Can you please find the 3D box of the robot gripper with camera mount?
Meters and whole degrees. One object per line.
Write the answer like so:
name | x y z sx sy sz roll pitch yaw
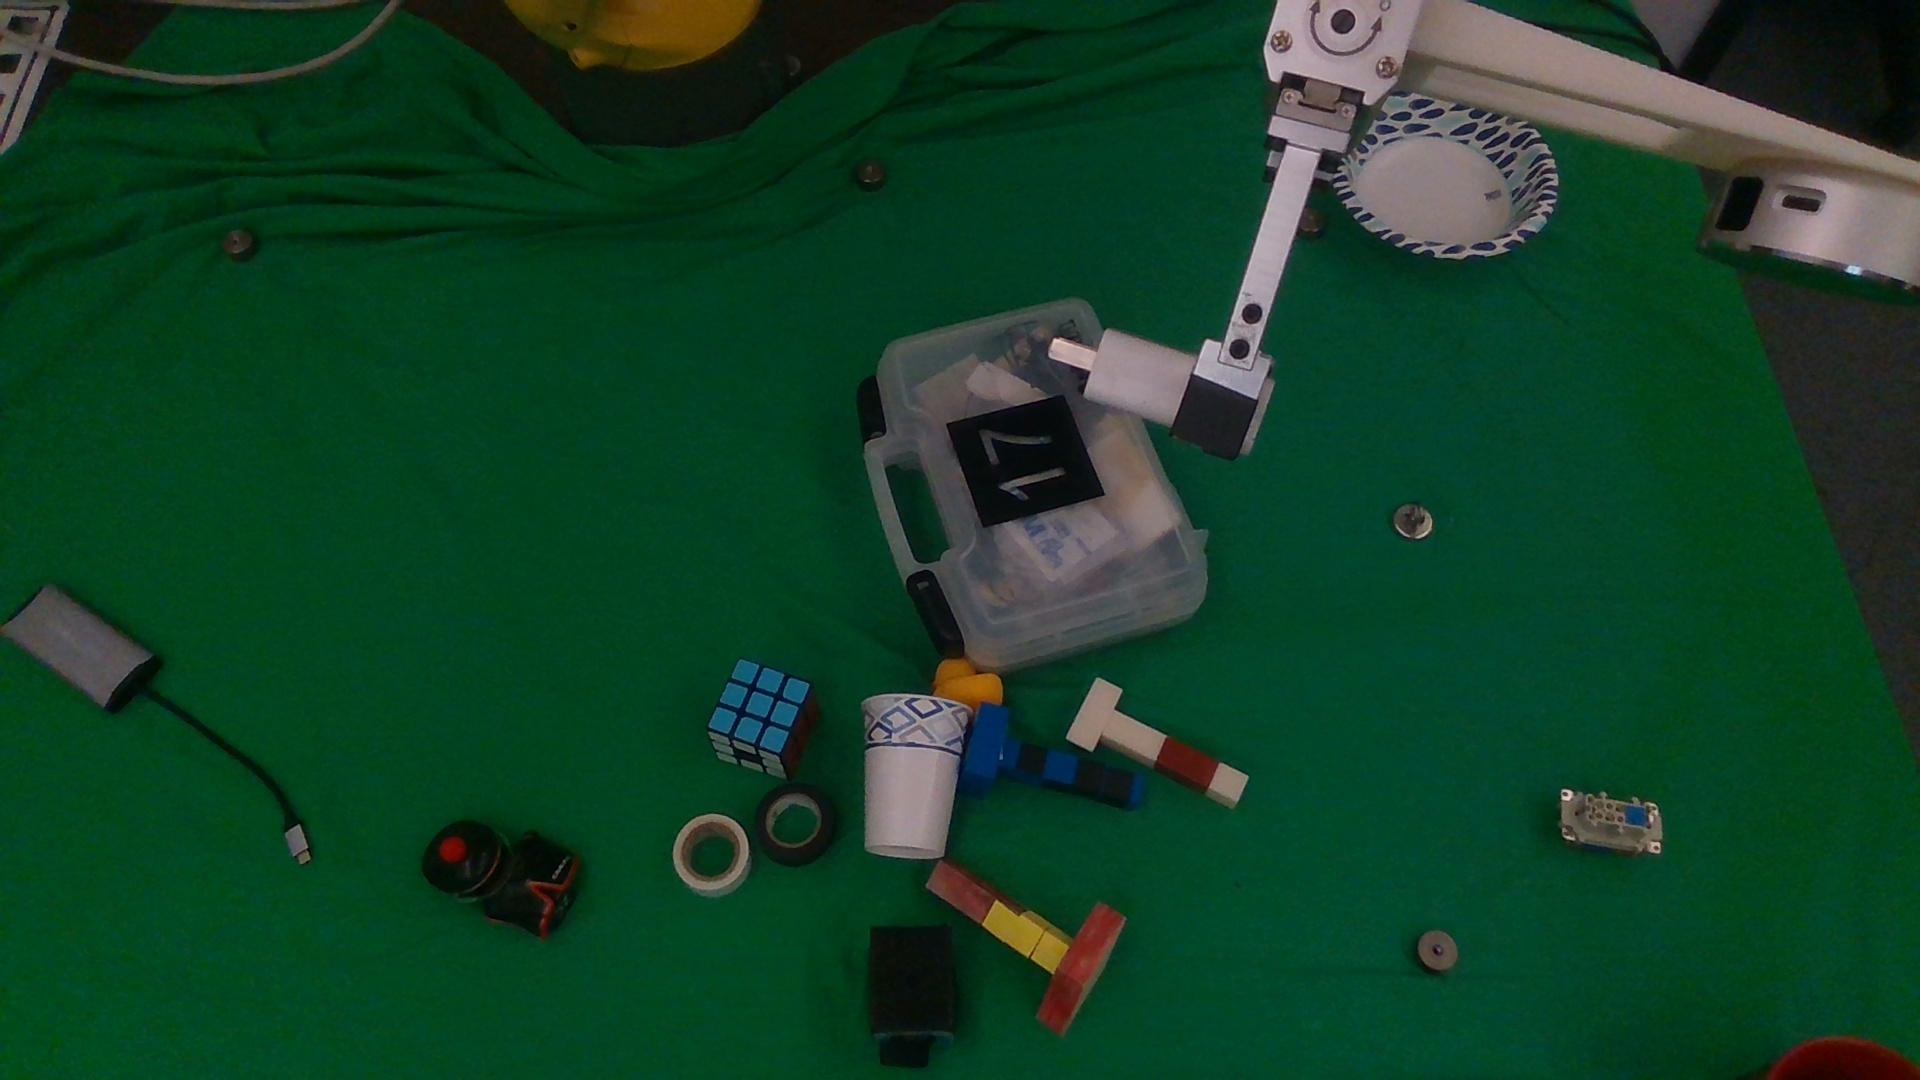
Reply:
robot gripper with camera mount | 0.170 -0.088 0.400 0.193 0.119 0.158 15 101 7

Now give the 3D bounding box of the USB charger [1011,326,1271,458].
USB charger | 0.053 -0.047 0.415 0.076 0.044 0.029 16 102 6
